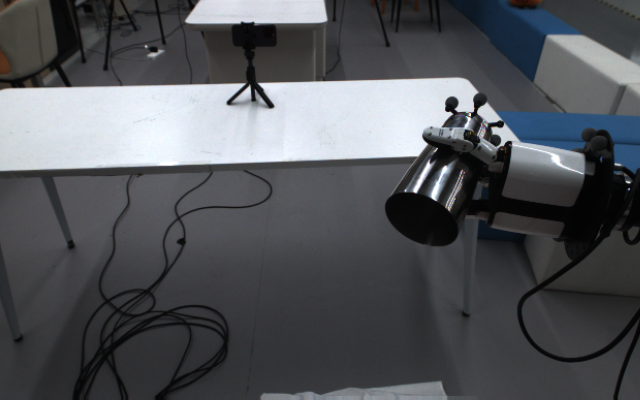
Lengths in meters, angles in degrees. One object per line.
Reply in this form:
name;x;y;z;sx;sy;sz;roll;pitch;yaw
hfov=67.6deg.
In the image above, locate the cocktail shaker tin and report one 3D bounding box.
cocktail shaker tin;0.162;-0.040;0.610;0.093;0.093;0.170;19;55;22
